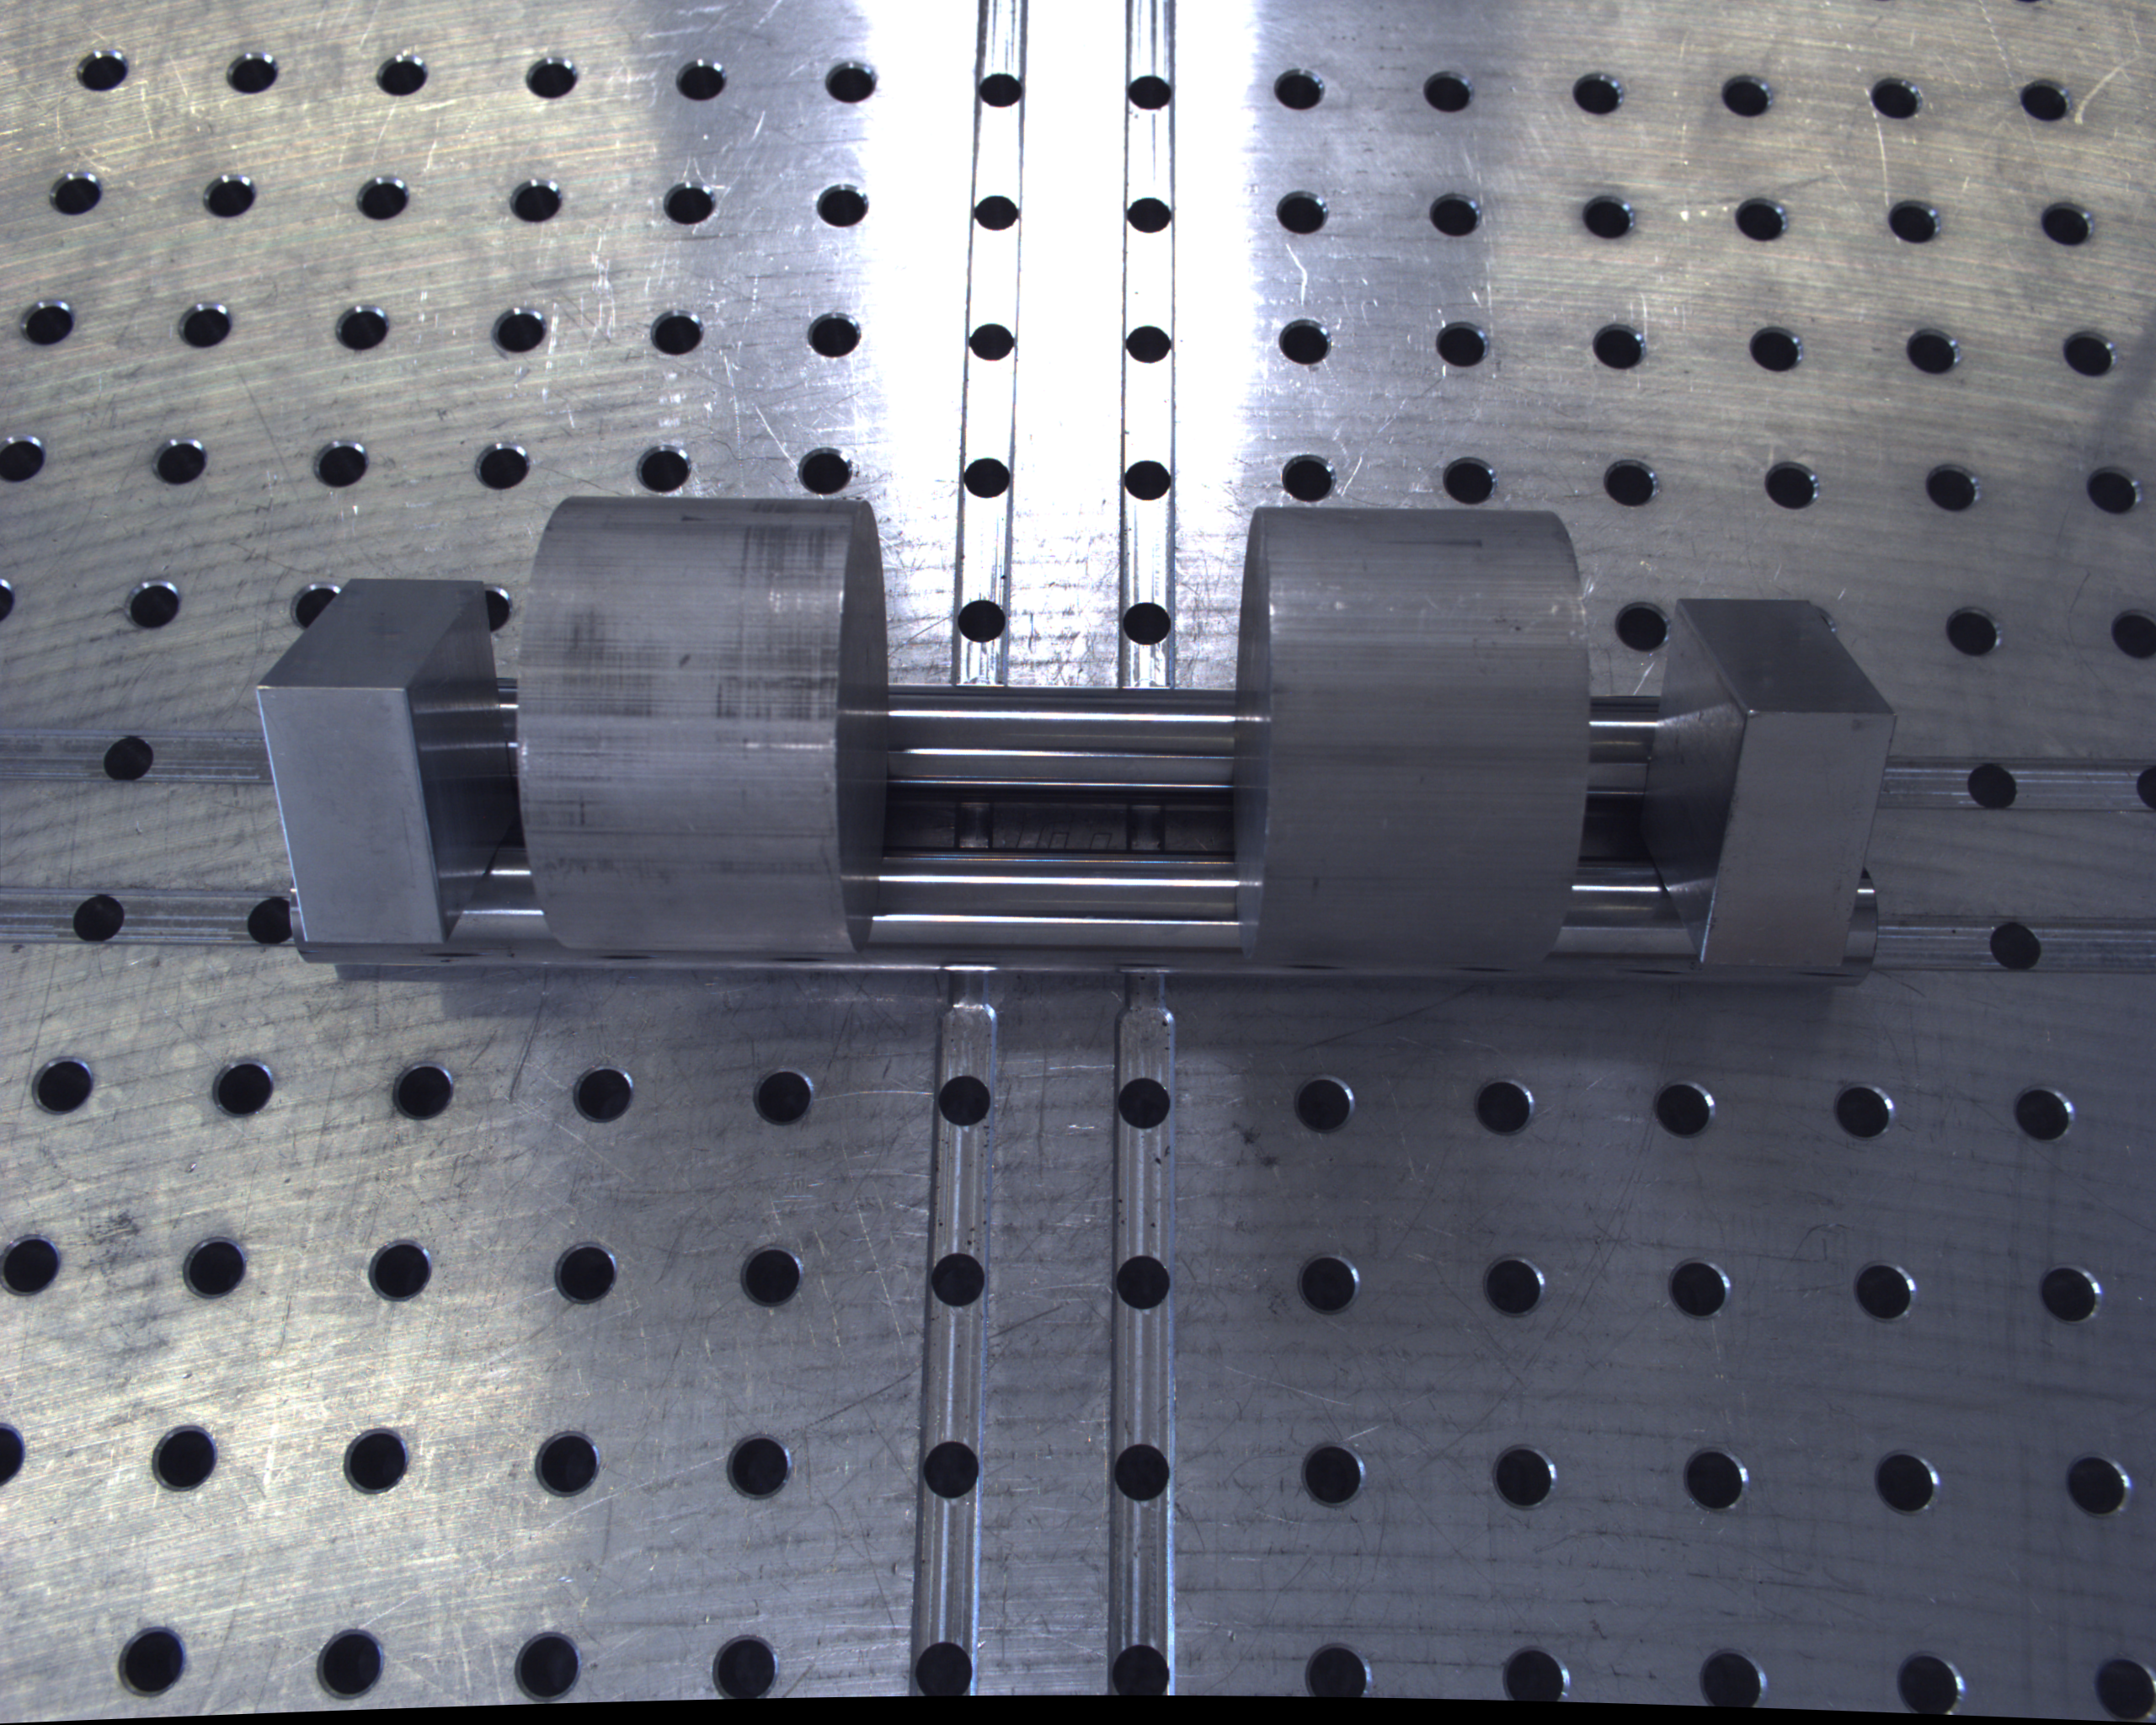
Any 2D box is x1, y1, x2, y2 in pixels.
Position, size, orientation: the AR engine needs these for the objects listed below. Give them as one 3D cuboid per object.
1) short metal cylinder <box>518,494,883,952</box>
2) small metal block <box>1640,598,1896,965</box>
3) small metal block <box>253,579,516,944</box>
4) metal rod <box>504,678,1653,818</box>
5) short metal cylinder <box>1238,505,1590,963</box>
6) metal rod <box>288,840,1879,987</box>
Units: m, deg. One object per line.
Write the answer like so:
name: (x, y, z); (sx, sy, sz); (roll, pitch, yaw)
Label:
short metal cylinder: (-0.063, -0.024, 0.368); (0.050, 0.080, 0.080); (1, 70, 0)
small metal block: (0.124, -0.016, 0.381); (0.025, 0.050, 0.050); (0, 29, 1)
small metal block: (-0.124, -0.019, 0.381); (0.025, 0.050, 0.050); (1, 28, 1)
metal rod: (0.004, -0.023, 0.420); (0.302, 0.025, 0.025); (1, 70, 0)
short metal cylinder: (0.056, -0.022, 0.368); (0.050, 0.080, 0.080); (1, 70, 0)
metal rod: (0.001, 0.010, 0.408); (0.302, 0.025, 0.025); (1, 70, 0)
